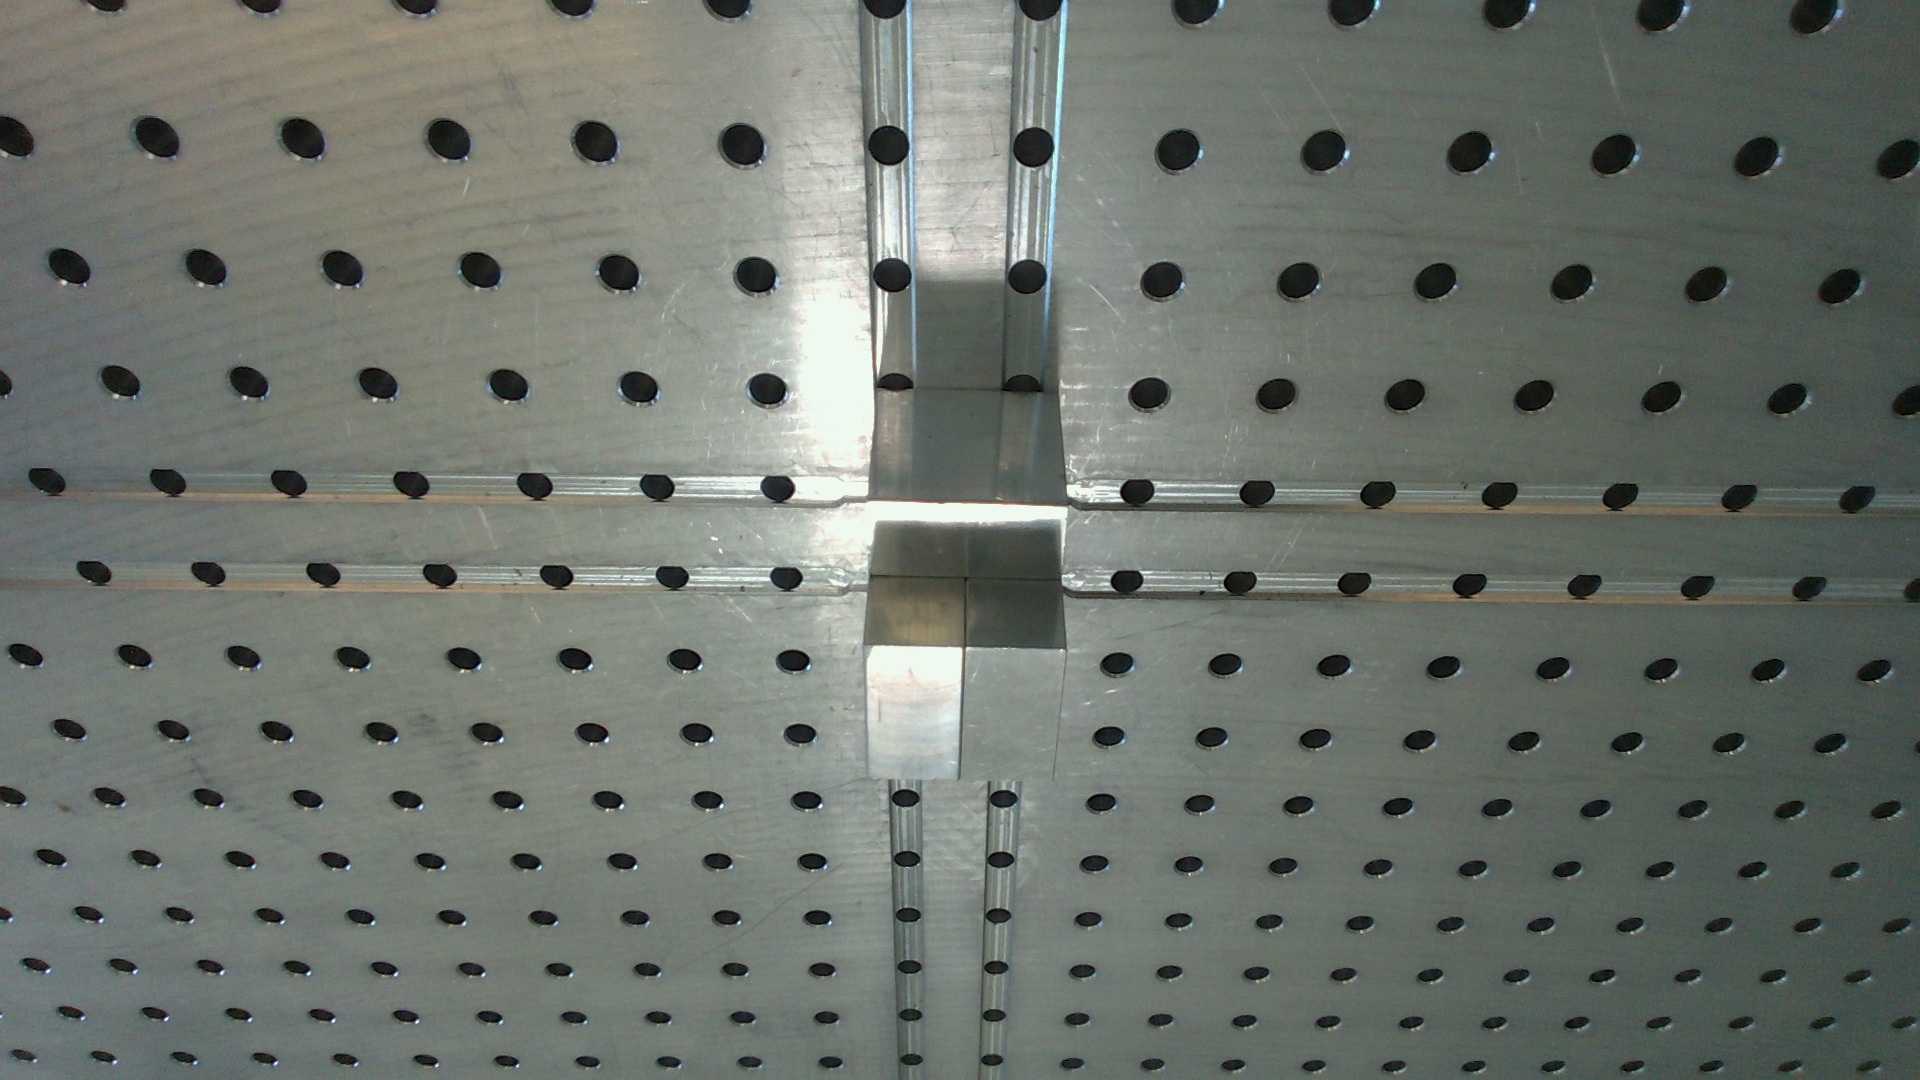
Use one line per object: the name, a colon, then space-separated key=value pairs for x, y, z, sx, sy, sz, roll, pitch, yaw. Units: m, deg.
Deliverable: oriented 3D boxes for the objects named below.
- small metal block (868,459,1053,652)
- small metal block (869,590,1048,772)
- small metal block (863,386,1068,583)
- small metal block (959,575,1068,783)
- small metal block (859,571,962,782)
small metal block: x=0.000 y=0.005 z=0.397 sx=0.050 sy=0.025 sz=0.050 roll=2 pitch=130 yaw=0
small metal block: x=-0.001 y=0.042 z=0.412 sx=0.050 sy=0.050 sz=0.025 roll=1 pitch=130 yaw=-1
small metal block: x=0.001 y=-0.015 z=0.363 sx=0.050 sy=0.050 sz=0.025 roll=1 pitch=130 yaw=-1
small metal block: x=0.014 y=0.029 z=0.369 sx=0.025 sy=0.050 sz=0.050 roll=2 pitch=130 yaw=0
small metal block: x=-0.013 y=0.029 z=0.368 sx=0.025 sy=0.050 sz=0.050 roll=1 pitch=130 yaw=-1
